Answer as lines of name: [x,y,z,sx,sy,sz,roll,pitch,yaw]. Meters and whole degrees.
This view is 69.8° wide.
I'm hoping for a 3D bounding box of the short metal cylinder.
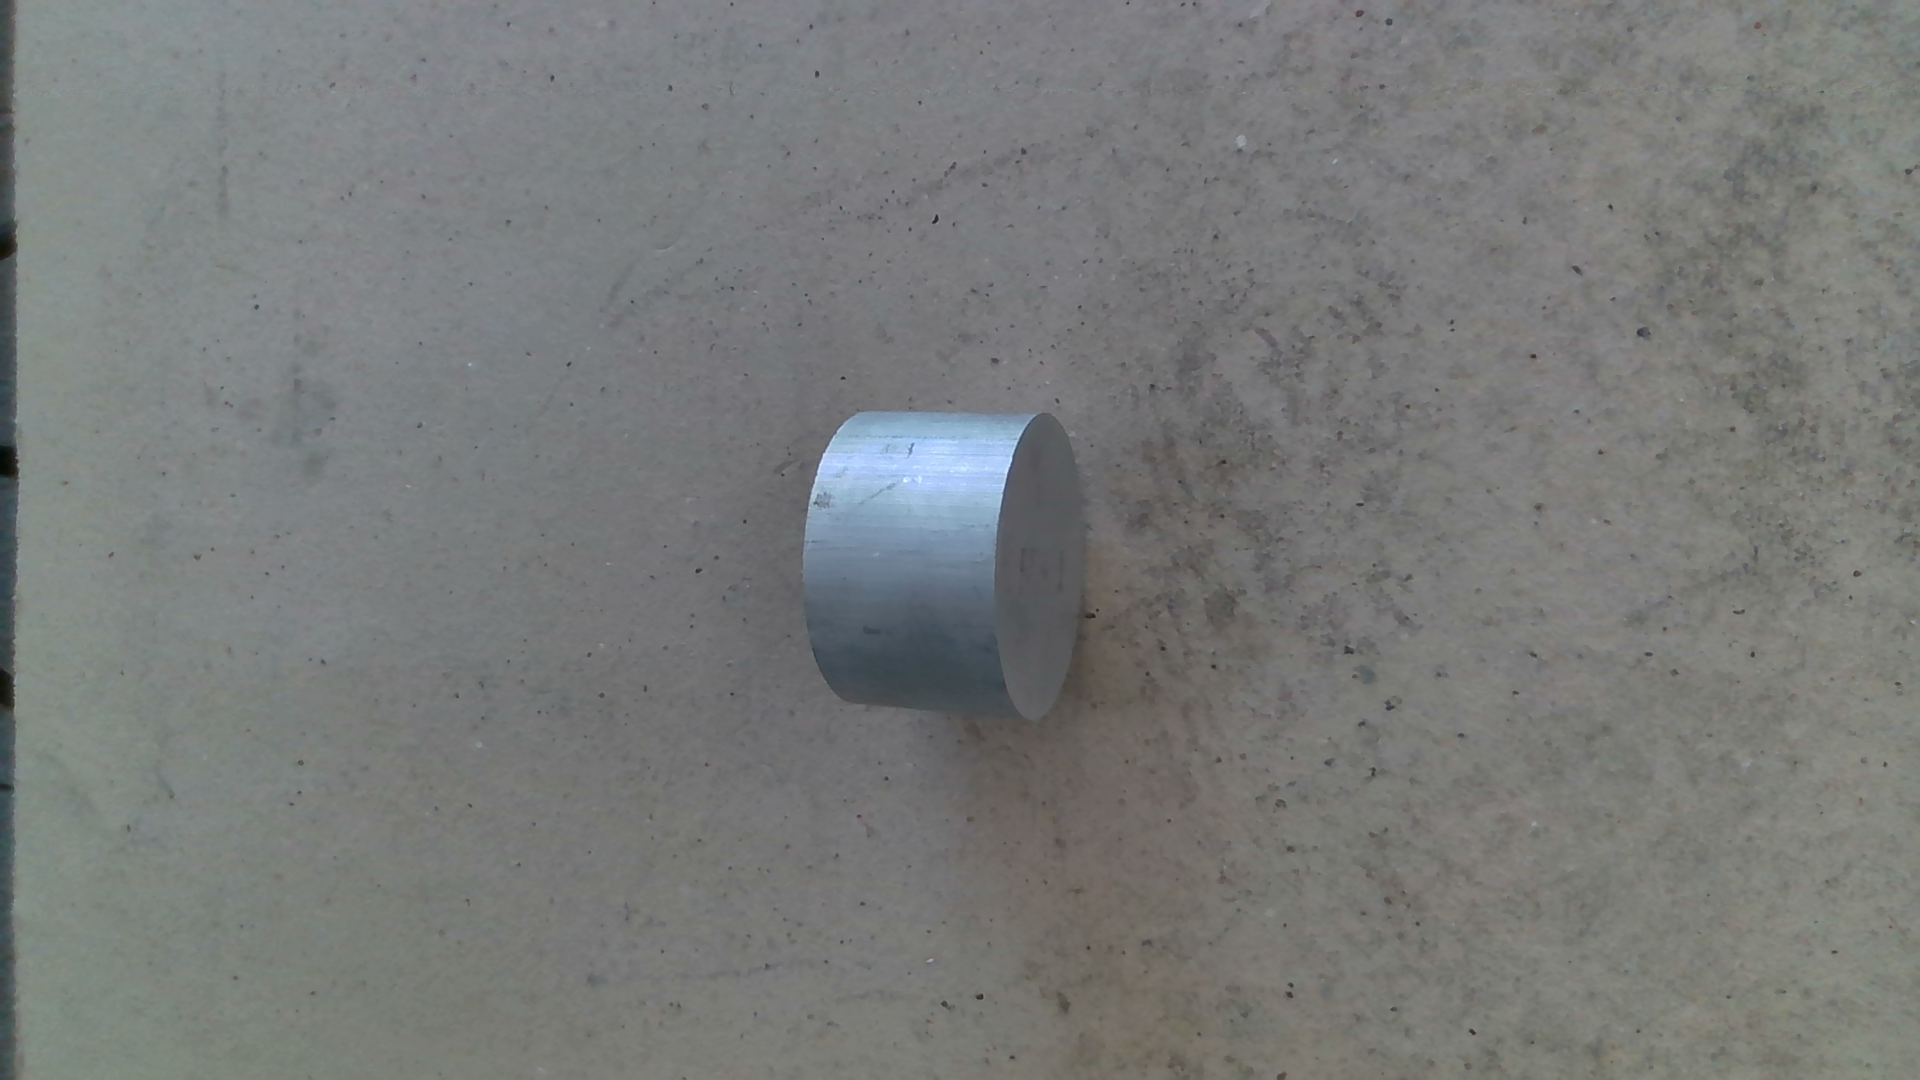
short metal cylinder: [-0.002,0.006,0.366,0.050,0.080,0.080,2,91,20]
